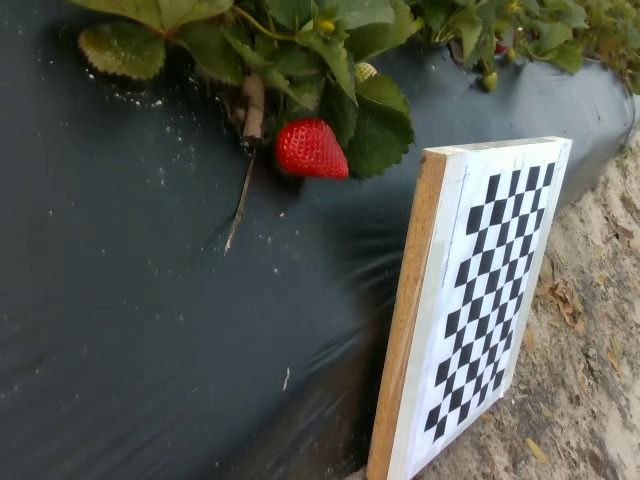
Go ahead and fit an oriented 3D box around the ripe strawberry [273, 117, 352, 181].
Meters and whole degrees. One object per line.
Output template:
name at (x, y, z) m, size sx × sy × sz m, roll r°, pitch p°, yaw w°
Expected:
ripe strawberry at (-0.002, -0.044, 0.301) m, size 0.046 × 0.037 × 0.037 m, roll 39°, pitch -16°, yaw -1°
